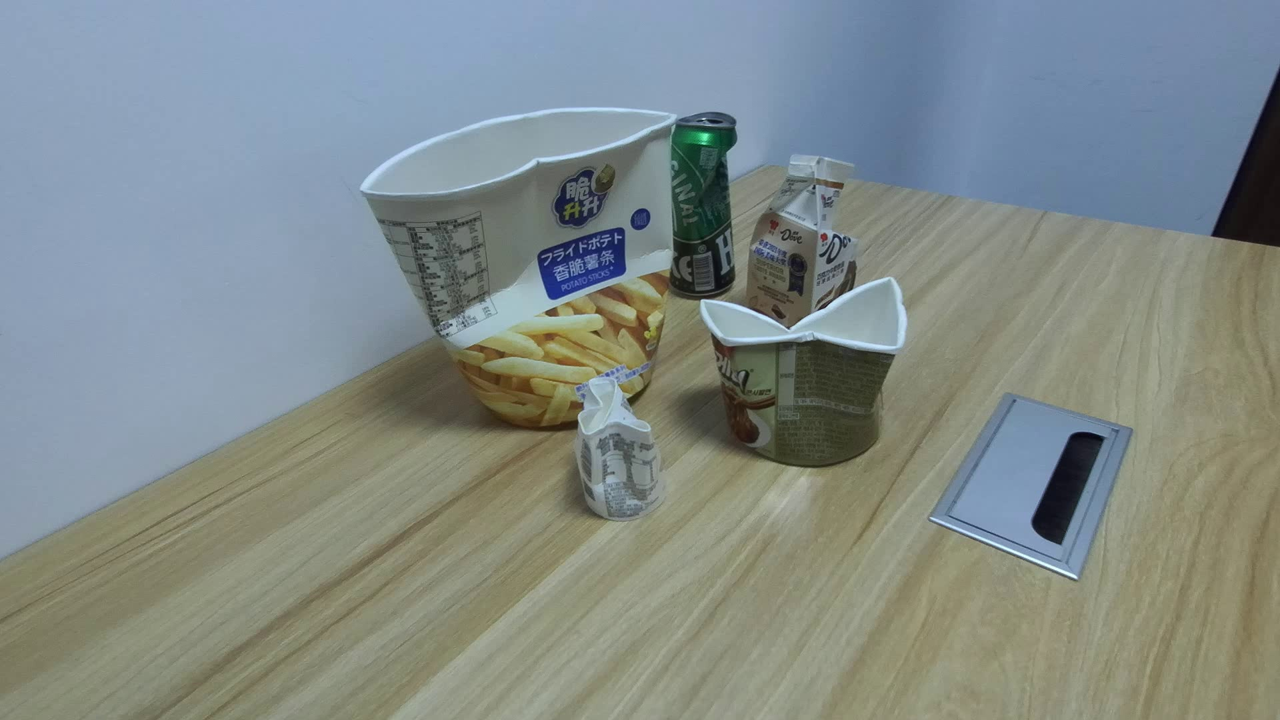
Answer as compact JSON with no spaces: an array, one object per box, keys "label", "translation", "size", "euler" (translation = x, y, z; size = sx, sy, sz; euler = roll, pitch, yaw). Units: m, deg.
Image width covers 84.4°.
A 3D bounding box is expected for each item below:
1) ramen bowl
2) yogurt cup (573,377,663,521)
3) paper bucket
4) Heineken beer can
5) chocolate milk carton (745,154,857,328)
[{"label":"ramen bowl","translation":[0.109,0.002,0.487],"size":[0.128,0.093,0.111],"euler":[3,34,12]},{"label":"yogurt cup","translation":[-0.014,0.056,0.439],"size":[0.055,0.072,0.055],"euler":[-2,33,7]},{"label":"paper bucket","translation":[-0.063,-0.069,0.526],"size":[0.147,0.199,0.218],"euler":[9,35,19]},{"label":"Heineken beer can","translation":[0.057,-0.141,0.662],"size":[0.078,0.164,0.066],"euler":[-12,31,-20]},{"label":"chocolate milk carton","translation":[0.141,-0.101,0.595],"size":[0.076,0.156,0.073],"euler":[-28,40,-35]}]
